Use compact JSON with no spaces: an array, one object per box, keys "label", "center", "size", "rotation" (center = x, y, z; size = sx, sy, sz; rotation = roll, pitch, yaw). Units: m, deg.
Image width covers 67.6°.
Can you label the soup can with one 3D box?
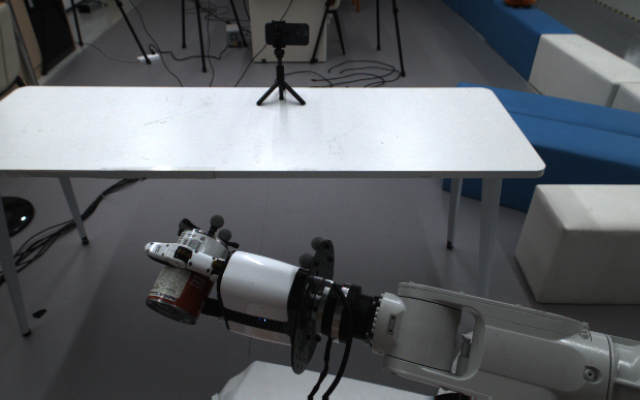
[{"label":"soup can","center":[-0.164,0.095,0.608],"size":[0.067,0.067,0.101],"rotation":[12,59,14]}]
